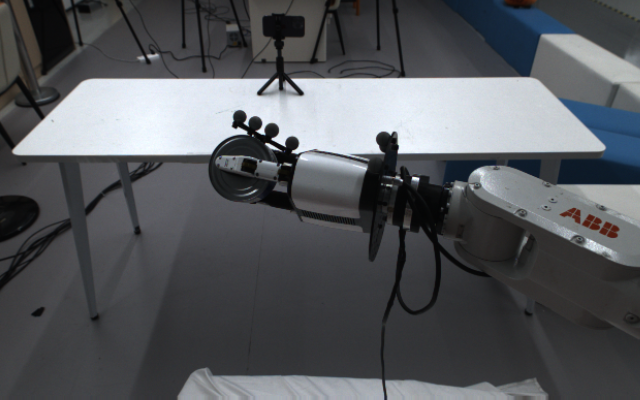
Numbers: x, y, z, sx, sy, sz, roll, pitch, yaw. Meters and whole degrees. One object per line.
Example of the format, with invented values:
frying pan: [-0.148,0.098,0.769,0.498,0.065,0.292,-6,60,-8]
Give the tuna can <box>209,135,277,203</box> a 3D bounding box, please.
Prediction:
tuna can: [-0.096,-0.038,0.625,0.085,0.085,0.034,9,-4,10]
